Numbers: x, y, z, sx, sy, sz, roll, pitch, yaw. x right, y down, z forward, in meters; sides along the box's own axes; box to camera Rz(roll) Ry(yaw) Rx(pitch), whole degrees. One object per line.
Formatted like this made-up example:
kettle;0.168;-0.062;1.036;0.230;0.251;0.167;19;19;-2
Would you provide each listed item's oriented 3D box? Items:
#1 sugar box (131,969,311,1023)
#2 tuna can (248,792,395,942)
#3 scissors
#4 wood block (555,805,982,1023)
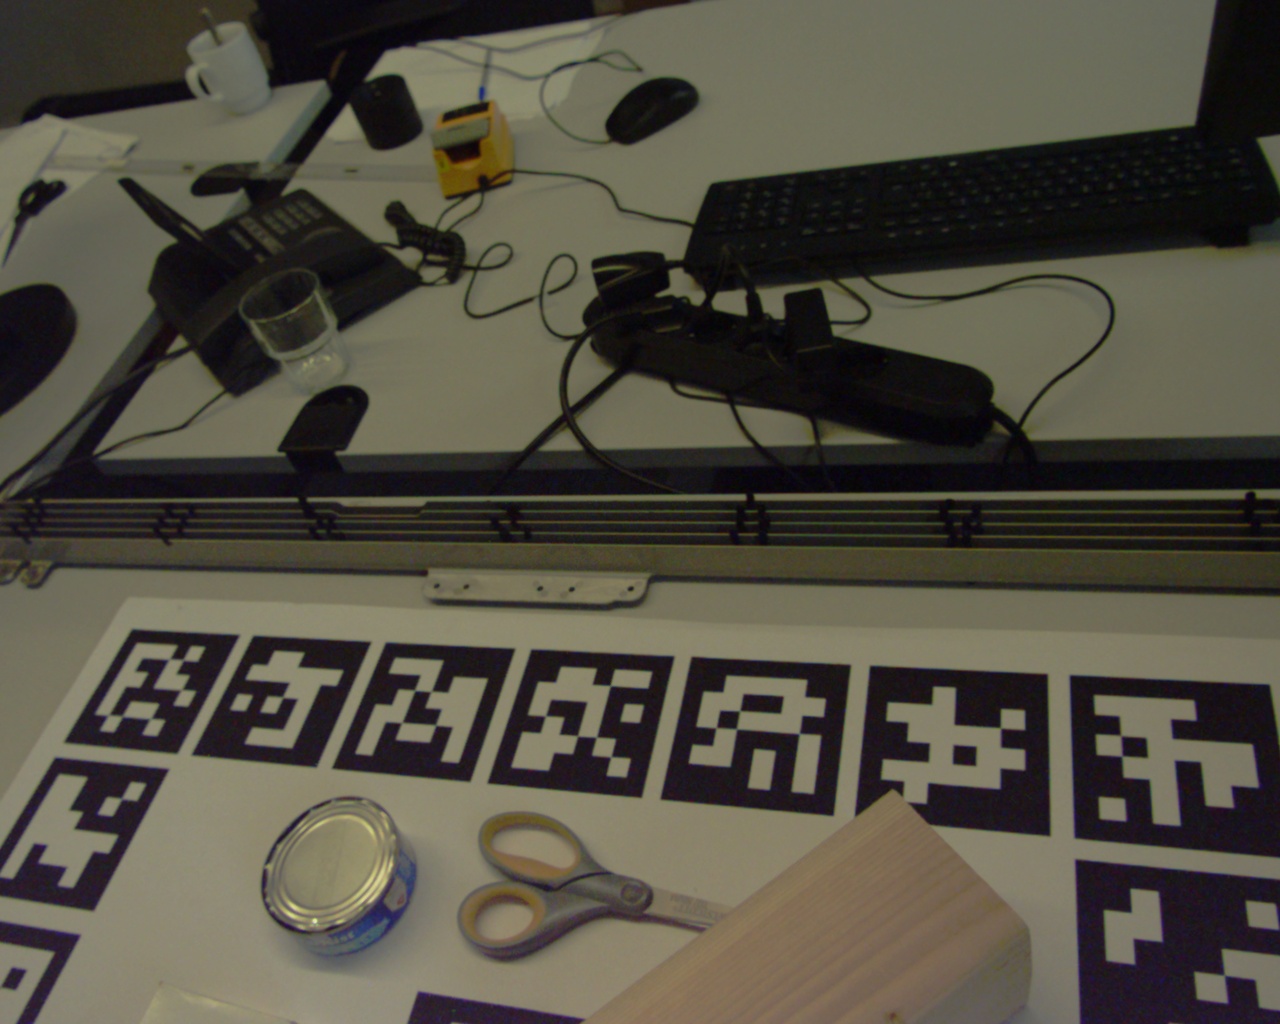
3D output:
sugar box;-0.262;0.348;0.617;0.094;0.045;0.176;5;51;23
tuna can;-0.198;0.222;0.712;0.086;0.033;0.086;-11;47;11
scissors;-0.030;0.226;0.663;0.205;0.016;0.087;6;52;27
wood block;0.058;0.254;0.559;0.205;0.090;0.091;-32;46;-12
